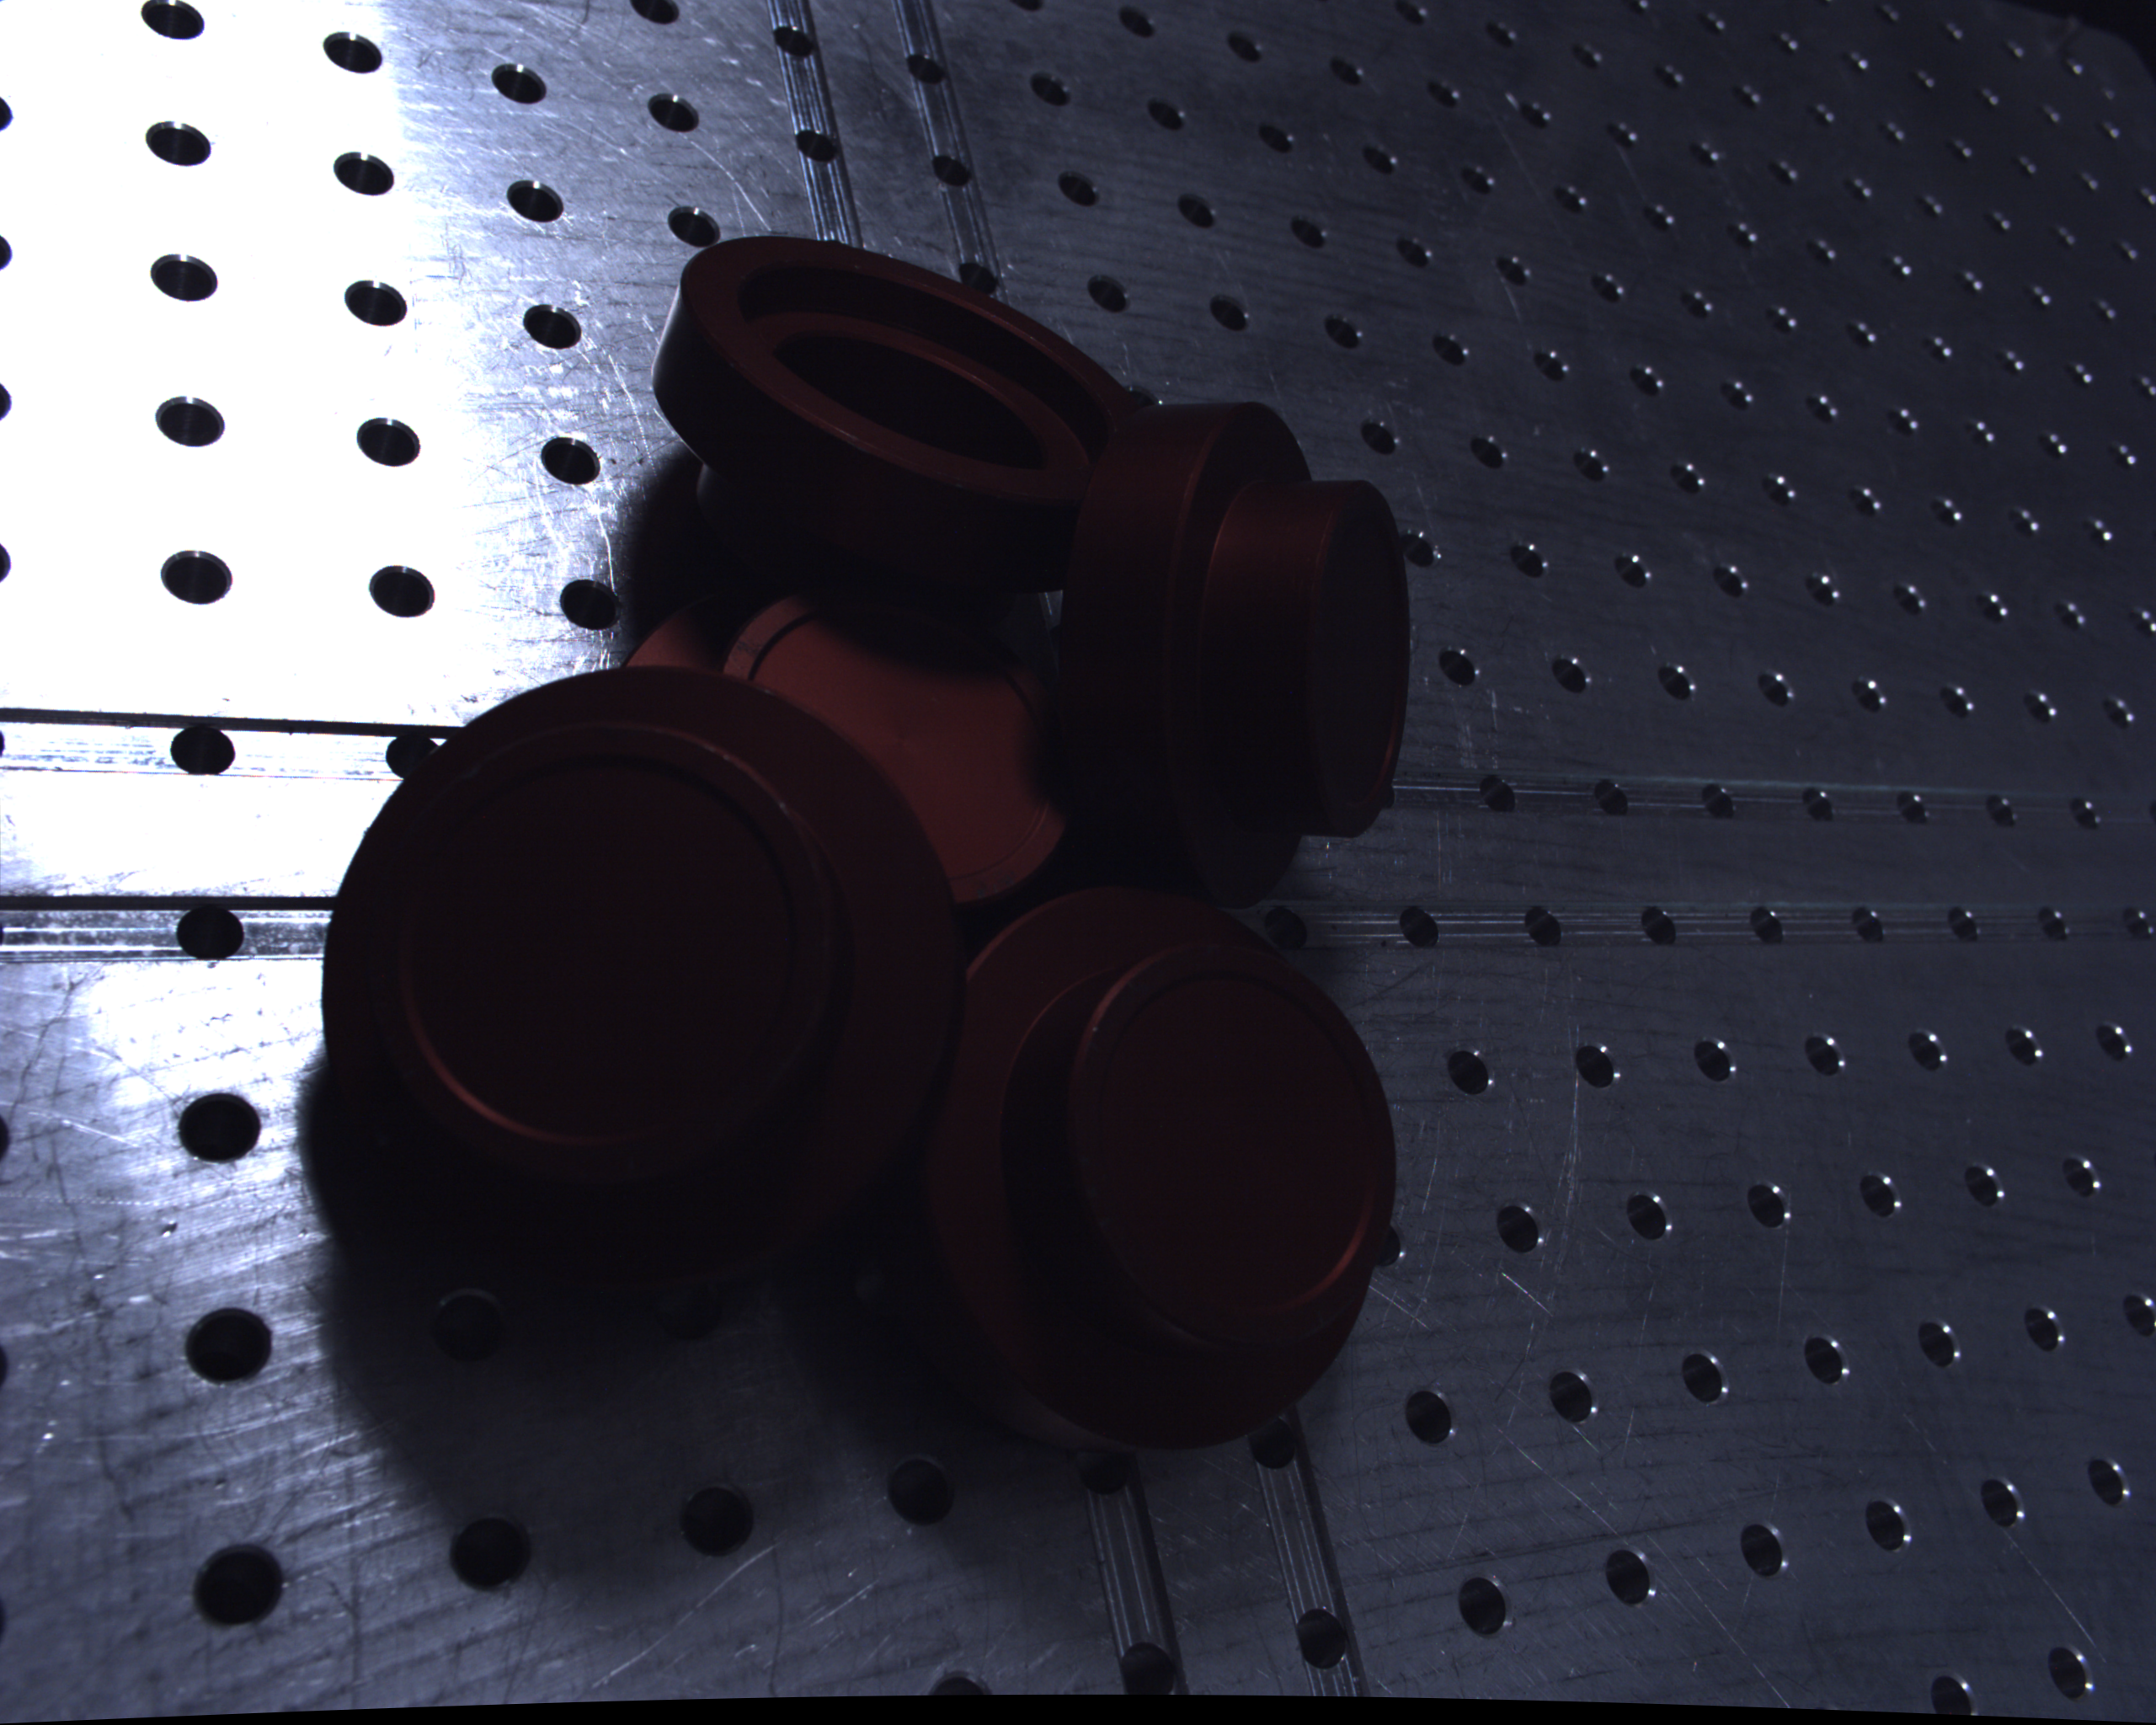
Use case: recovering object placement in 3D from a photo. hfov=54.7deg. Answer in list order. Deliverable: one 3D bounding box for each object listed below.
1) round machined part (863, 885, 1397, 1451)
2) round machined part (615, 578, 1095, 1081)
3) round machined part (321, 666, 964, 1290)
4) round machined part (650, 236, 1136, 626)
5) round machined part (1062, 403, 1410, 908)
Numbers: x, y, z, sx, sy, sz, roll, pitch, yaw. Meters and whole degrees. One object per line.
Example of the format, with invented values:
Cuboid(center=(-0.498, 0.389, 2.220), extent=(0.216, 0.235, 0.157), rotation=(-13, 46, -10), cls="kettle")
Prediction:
Cuboid(center=(0.016, 0.051, 0.360), extent=(0.099, 0.042, 0.098), rotation=(12, 67, -31), cls="round machined part")
Cuboid(center=(-0.041, -0.013, 0.383), extent=(0.099, 0.042, 0.098), rotation=(14, 56, -21), cls="round machined part")
Cuboid(center=(-0.068, 0.016, 0.321), extent=(0.099, 0.042, 0.098), rotation=(0, 78, 2), cls="round machined part")
Cuboid(center=(-0.037, -0.081, 0.414), extent=(0.099, 0.042, 0.098), rotation=(19, 33, -13), cls="round machined part")
Cuboid(center=(0.036, -0.040, 0.404), extent=(0.042, 0.098, 0.098), rotation=(4, 49, 23), cls="round machined part")
